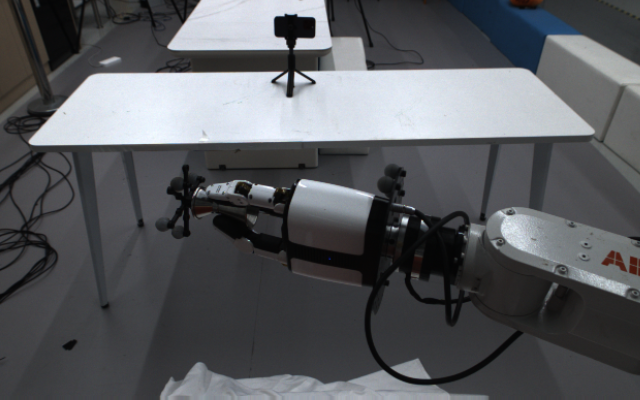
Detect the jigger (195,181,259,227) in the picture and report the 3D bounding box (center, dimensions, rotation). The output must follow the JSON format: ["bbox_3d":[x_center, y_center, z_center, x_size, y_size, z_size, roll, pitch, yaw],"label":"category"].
[{"bbox_3d":[-0.103,0.003,0.565,0.071,0.043,0.043,6,35,12],"label":"jigger"}]
